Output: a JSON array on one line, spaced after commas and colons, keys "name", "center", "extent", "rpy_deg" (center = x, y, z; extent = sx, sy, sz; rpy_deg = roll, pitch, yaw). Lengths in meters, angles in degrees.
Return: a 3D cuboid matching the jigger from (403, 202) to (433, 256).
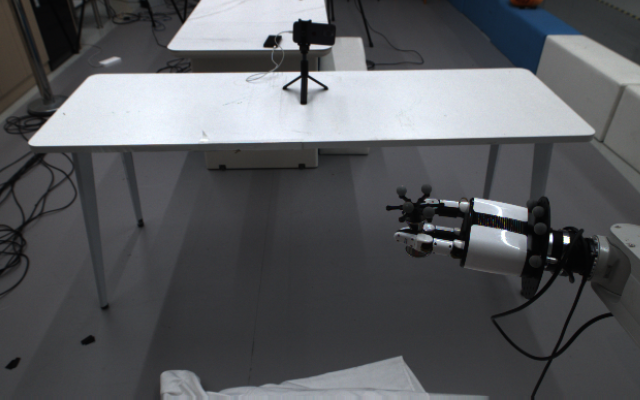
[{"name": "jigger", "center": [0.157, 0.050, 0.783], "extent": [0.043, 0.071, 0.043], "rpy_deg": [-9, 31, 5]}]
